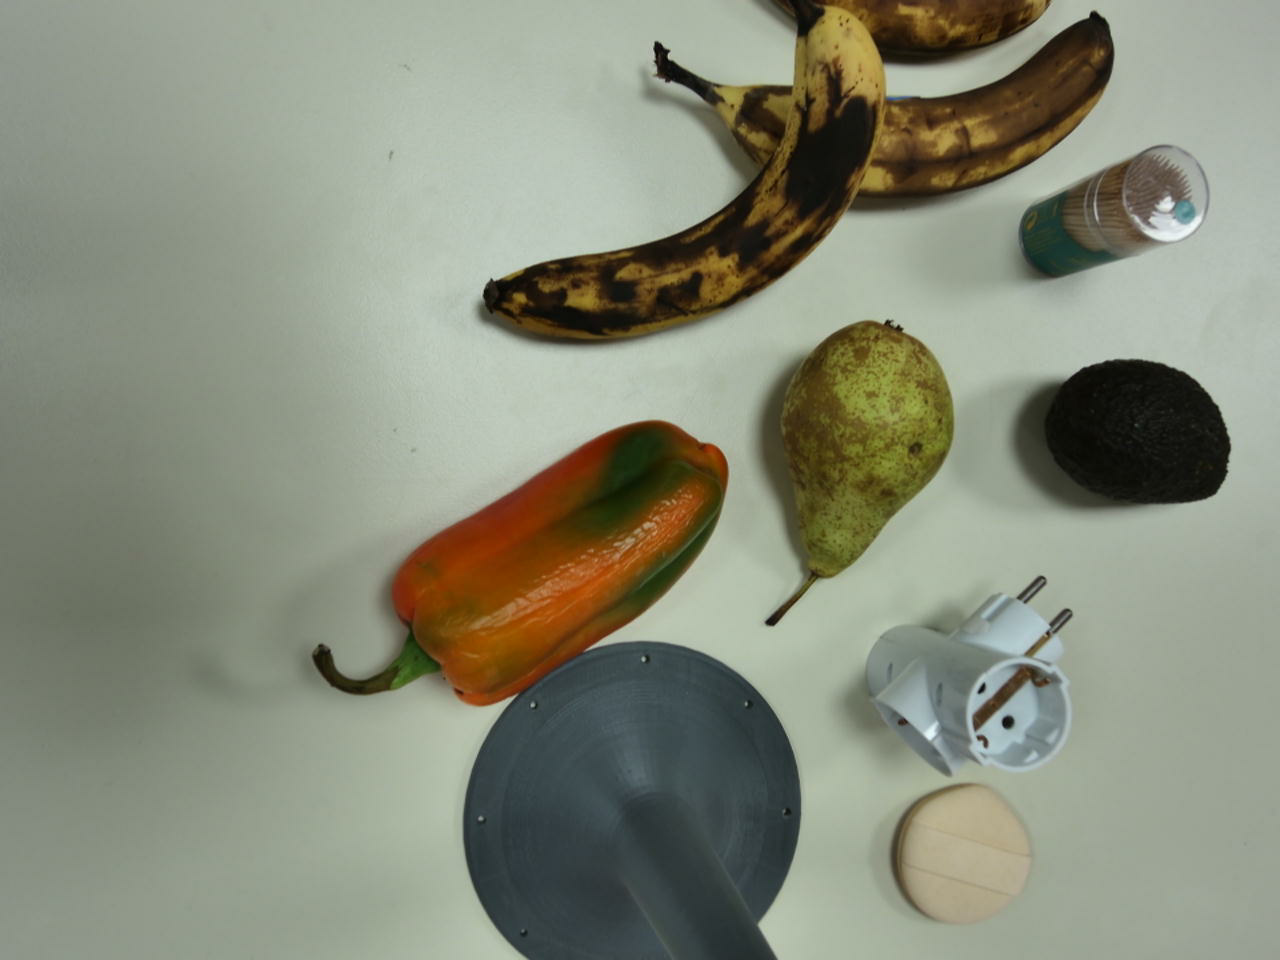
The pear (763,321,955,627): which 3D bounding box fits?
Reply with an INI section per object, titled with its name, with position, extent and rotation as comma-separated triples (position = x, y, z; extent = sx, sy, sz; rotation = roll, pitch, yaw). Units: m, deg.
[pear]
position = 0.097, -0.002, 0.426
extent = 0.071, 0.075, 0.128
rotation = -7, 92, -12
